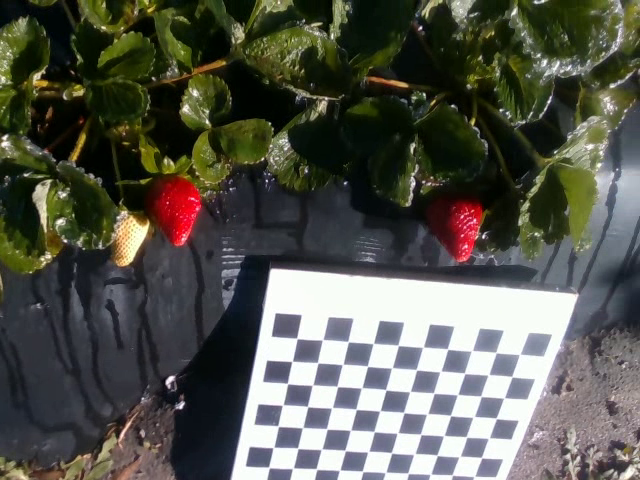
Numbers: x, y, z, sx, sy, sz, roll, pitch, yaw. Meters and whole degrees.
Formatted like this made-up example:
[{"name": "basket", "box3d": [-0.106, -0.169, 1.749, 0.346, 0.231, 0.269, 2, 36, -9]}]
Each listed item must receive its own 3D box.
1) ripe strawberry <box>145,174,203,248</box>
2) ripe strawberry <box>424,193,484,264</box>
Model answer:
[{"name": "ripe strawberry", "box3d": [-0.111, -0.018, 0.525, 0.042, 0.061, 0.046, -8, -17, -6]}, {"name": "ripe strawberry", "box3d": [0.115, -0.005, 0.560, 0.048, 0.061, 0.044, -1, -9, -9]}]
